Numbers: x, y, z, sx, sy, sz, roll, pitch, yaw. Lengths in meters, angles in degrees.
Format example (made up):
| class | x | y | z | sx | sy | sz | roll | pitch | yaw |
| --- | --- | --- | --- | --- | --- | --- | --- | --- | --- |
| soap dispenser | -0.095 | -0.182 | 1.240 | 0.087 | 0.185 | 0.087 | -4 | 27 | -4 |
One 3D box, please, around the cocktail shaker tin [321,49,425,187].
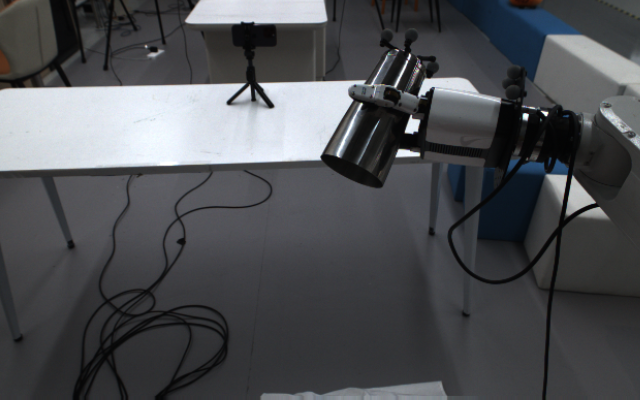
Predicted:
| class | x | y | z | sx | sy | sz | roll | pitch | yaw |
| --- | --- | --- | --- | --- | --- | --- | --- | --- | --- |
| cocktail shaker tin | 0.080 | -0.116 | 0.651 | 0.093 | 0.093 | 0.170 | 21 | 81 | 26 |
